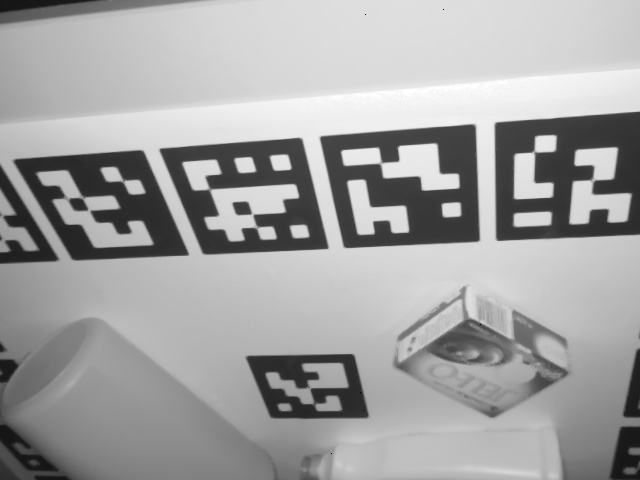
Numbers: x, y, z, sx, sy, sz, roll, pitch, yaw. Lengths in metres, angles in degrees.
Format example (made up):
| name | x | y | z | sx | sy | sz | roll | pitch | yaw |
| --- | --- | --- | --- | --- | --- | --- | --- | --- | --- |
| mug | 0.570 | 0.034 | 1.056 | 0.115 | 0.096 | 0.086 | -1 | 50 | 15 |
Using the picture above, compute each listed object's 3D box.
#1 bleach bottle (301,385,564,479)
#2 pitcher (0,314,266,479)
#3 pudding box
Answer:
| name | x | y | z | sx | sy | sz | roll | pitch | yaw |
| --- | --- | --- | --- | --- | --- | --- | --- | --- | --- |
| bleach bottle | 0.097 | 0.205 | 0.666 | 0.248 | 0.069 | 0.102 | -12 | 123 | 20 |
| pitcher | -0.184 | 0.182 | 0.665 | 0.243 | 0.135 | 0.186 | 45 | 157 | -20 |
| pudding box | 0.095 | 0.061 | 0.554 | 0.114 | 0.039 | 0.088 | 25 | 135 | -11 |
